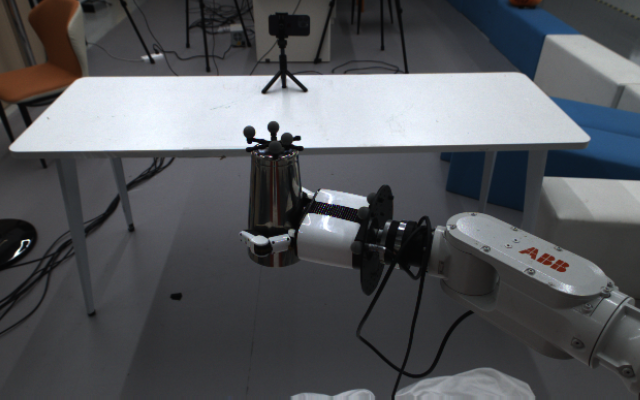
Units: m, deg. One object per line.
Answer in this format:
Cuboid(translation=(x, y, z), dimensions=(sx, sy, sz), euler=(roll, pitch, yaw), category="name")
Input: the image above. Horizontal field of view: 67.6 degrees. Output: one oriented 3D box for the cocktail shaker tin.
Cuboid(translation=(-0.065, 0.003, 0.719), dimensions=(0.093, 0.170, 0.093), euler=(1, 28, -1), category="cocktail shaker tin")
